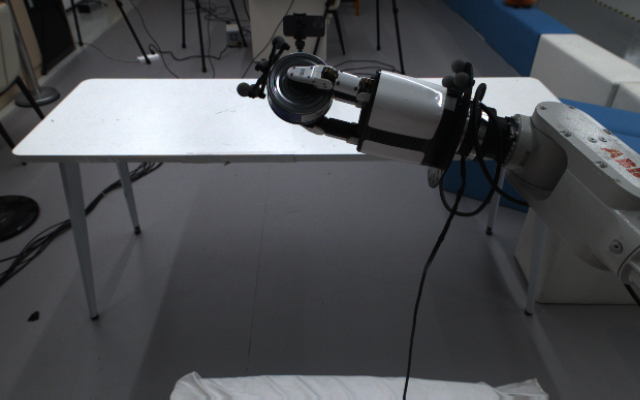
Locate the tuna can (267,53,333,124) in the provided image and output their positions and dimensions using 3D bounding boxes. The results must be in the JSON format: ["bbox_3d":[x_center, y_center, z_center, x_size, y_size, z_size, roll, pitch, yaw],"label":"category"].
[{"bbox_3d":[-0.021,-0.137,0.609,0.085,0.034,0.085,1,77,-6],"label":"tuna can"}]
